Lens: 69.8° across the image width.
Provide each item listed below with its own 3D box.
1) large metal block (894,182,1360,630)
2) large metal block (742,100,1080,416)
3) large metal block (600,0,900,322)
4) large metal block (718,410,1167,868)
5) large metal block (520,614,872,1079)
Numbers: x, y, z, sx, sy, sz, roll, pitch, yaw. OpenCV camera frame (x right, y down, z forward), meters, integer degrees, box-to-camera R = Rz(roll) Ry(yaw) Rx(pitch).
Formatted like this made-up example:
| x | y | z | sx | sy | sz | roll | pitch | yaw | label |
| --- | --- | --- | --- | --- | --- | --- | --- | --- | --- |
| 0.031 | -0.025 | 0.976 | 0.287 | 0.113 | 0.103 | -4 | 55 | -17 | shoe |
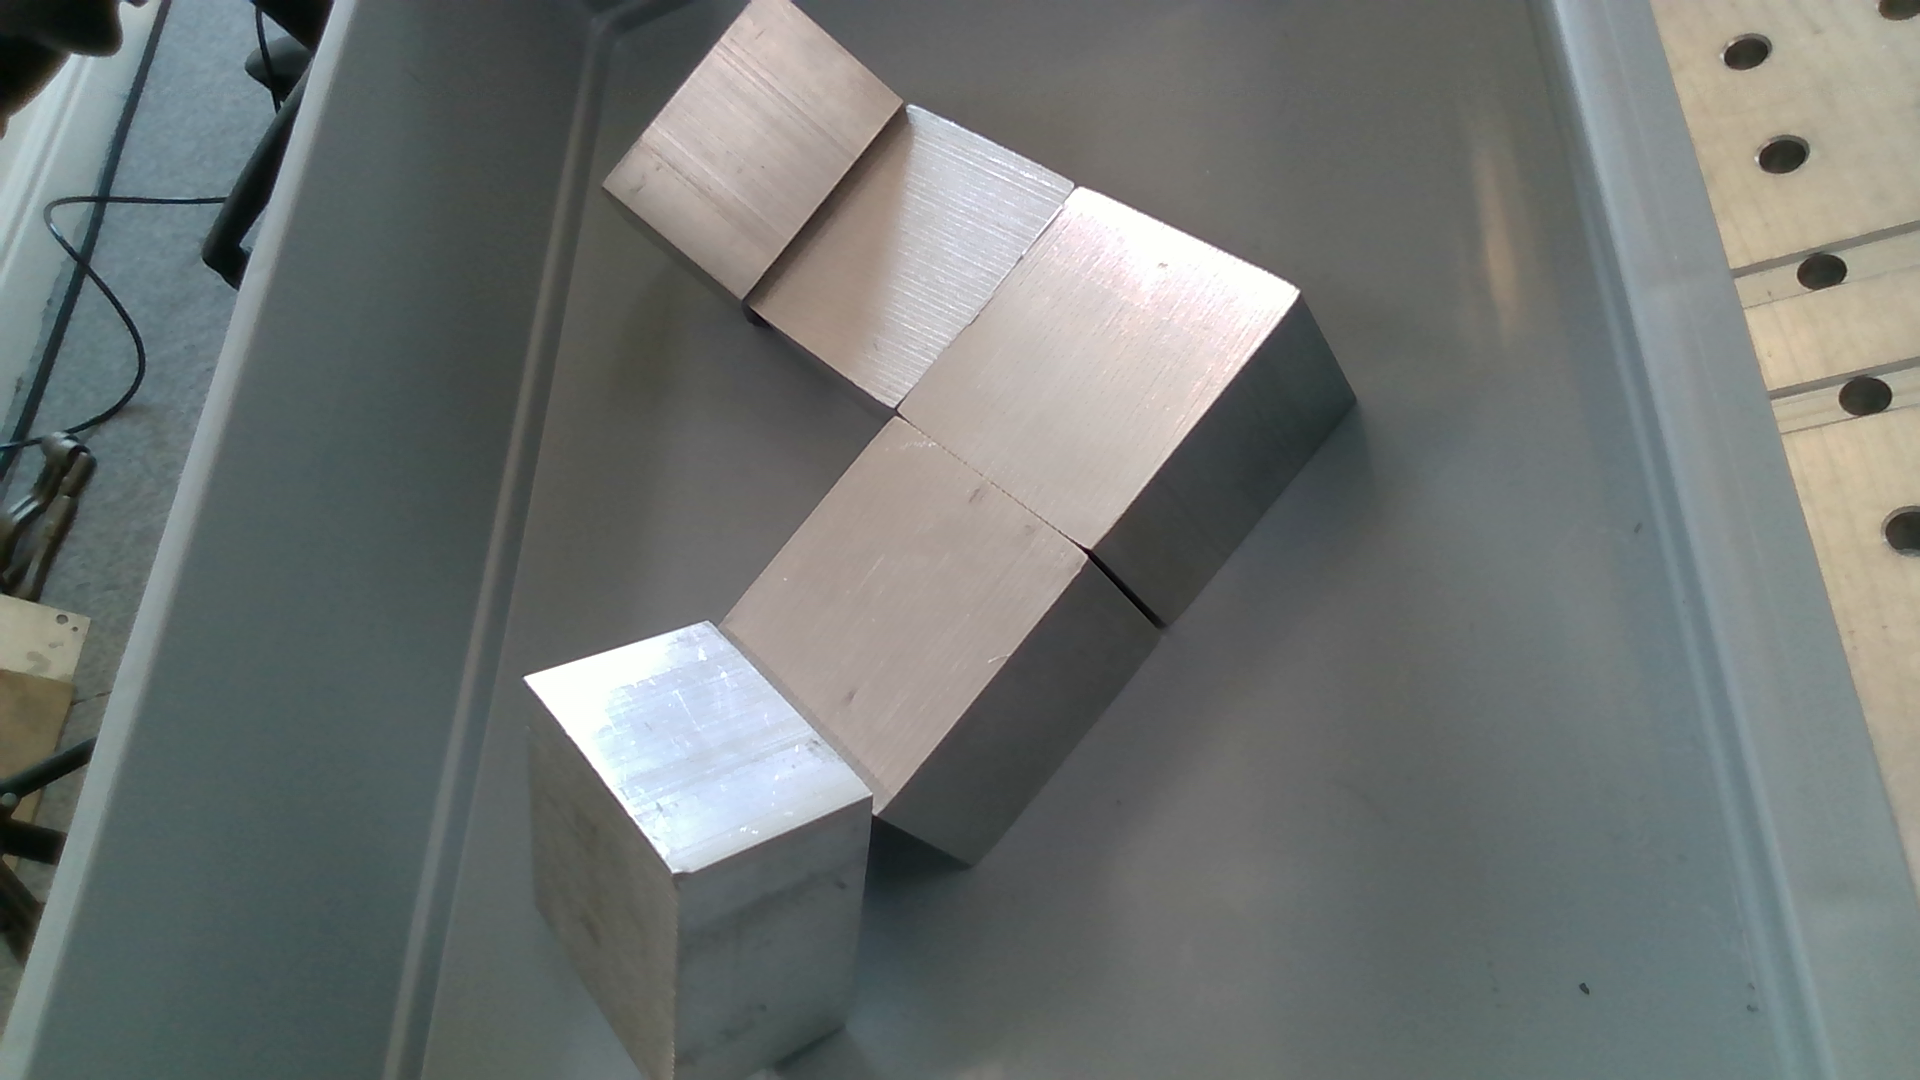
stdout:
| x | y | z | sx | sy | sz | roll | pitch | yaw | label |
| --- | --- | --- | --- | --- | --- | --- | --- | --- | --- |
| 0.044 | -0.037 | 0.368 | 0.080 | 0.050 | 0.080 | -51 | 51 | -1 | large metal block |
| -0.005 | -0.075 | 0.418 | 0.080 | 0.050 | 0.080 | -51 | 51 | -1 | large metal block |
| -0.068 | -0.123 | 0.454 | 0.080 | 0.050 | 0.080 | -51 | 8 | -1 | large metal block |
| -0.007 | 0.025 | 0.366 | 0.080 | 0.050 | 0.080 | -51 | 51 | -1 | large metal block |
| -0.070 | 0.079 | 0.349 | 0.080 | 0.050 | 0.080 | 38 | 132 | 39 | large metal block |
